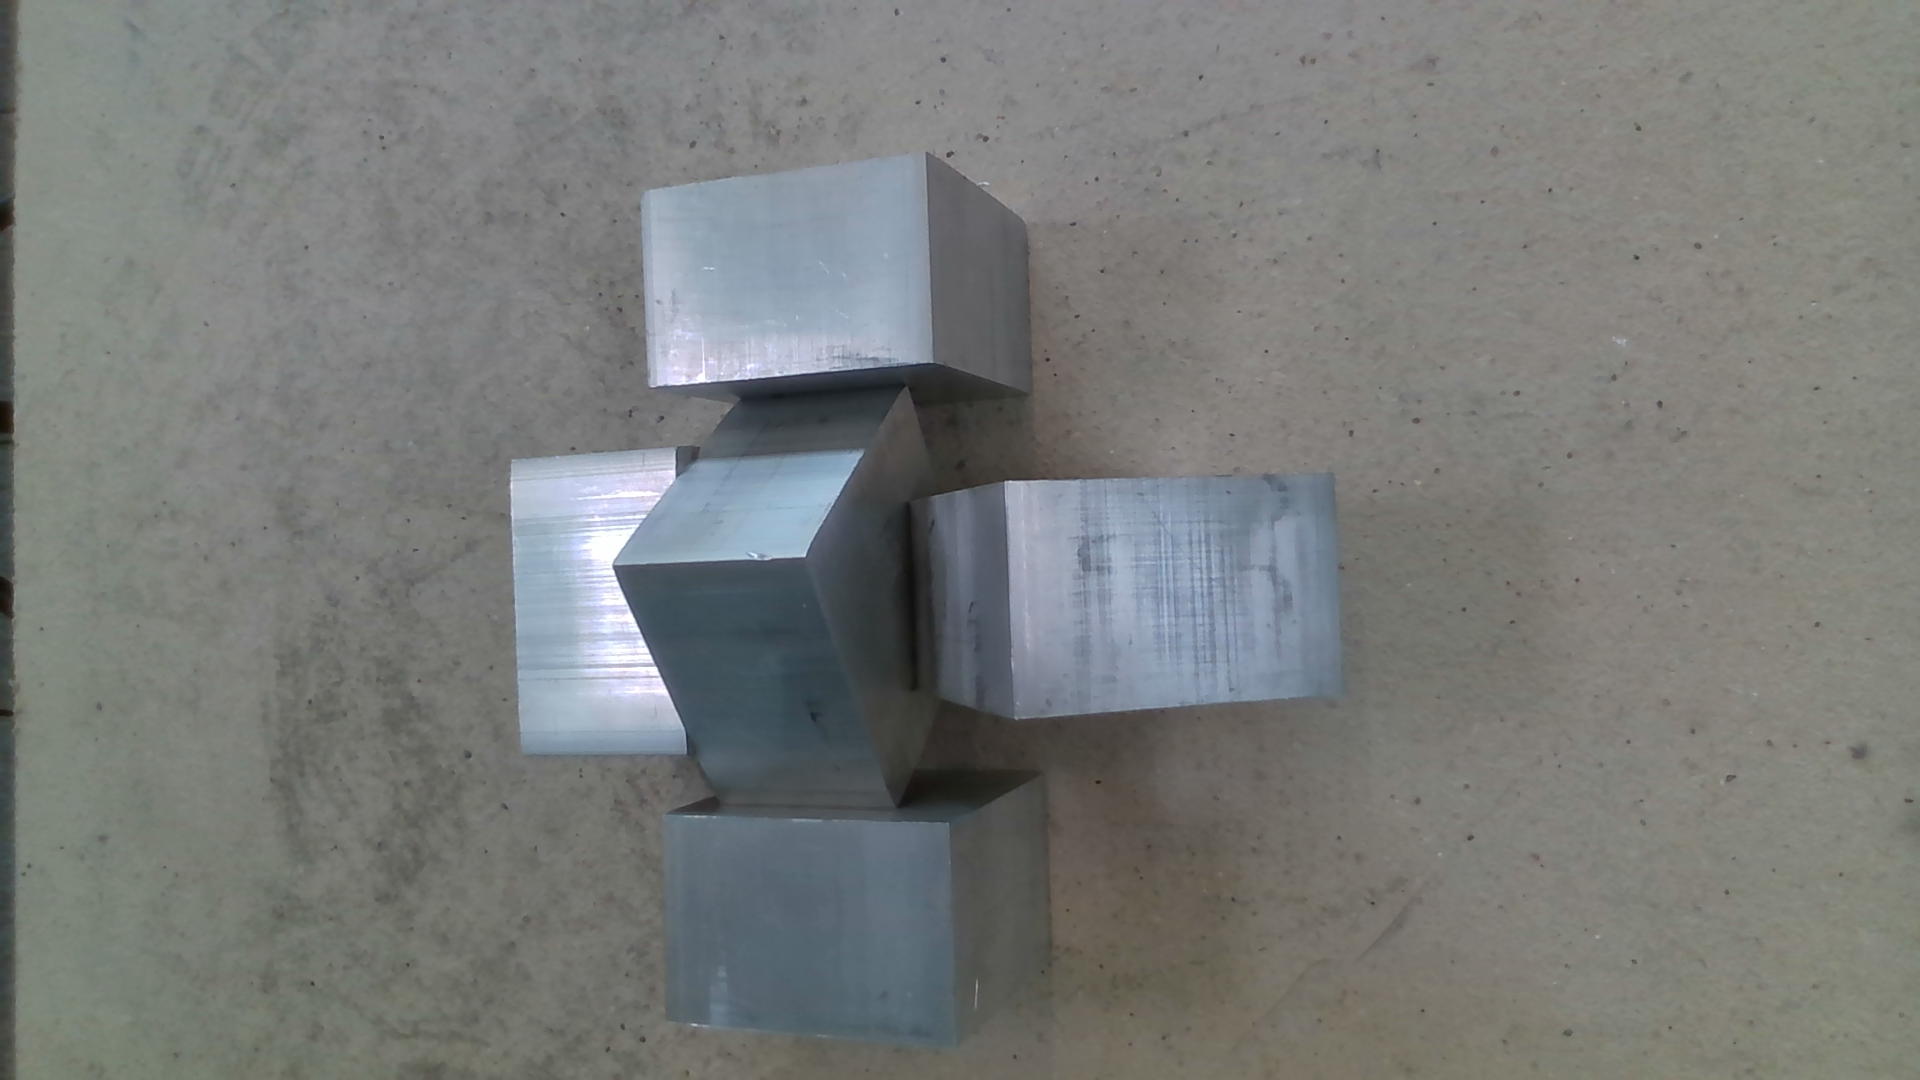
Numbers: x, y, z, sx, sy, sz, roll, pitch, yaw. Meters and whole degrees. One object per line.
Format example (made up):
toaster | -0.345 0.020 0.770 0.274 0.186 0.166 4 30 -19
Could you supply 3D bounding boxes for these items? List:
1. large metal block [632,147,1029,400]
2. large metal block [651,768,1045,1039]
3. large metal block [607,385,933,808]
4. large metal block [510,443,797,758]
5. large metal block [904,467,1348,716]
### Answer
large metal block | -0.031 -0.066 0.375 0.080 0.080 0.050 -2 90 20
large metal block | -0.027 0.094 0.375 0.080 0.080 0.050 -2 90 19
large metal block | -0.040 0.014 0.364 0.050 0.080 0.080 -2 125 19
large metal block | -0.081 0.017 0.395 0.050 0.080 0.080 -3 89 20
large metal block | 0.036 0.011 0.336 0.080 0.080 0.050 -2 89 -17
